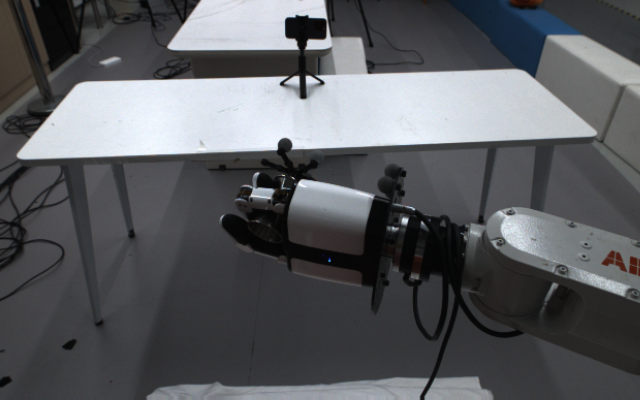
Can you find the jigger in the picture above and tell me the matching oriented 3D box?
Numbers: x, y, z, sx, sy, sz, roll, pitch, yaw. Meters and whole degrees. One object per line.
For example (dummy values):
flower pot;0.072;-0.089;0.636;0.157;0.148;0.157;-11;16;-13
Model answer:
jigger;-0.047;0.007;0.549;0.043;0.043;0.071;15;58;18
